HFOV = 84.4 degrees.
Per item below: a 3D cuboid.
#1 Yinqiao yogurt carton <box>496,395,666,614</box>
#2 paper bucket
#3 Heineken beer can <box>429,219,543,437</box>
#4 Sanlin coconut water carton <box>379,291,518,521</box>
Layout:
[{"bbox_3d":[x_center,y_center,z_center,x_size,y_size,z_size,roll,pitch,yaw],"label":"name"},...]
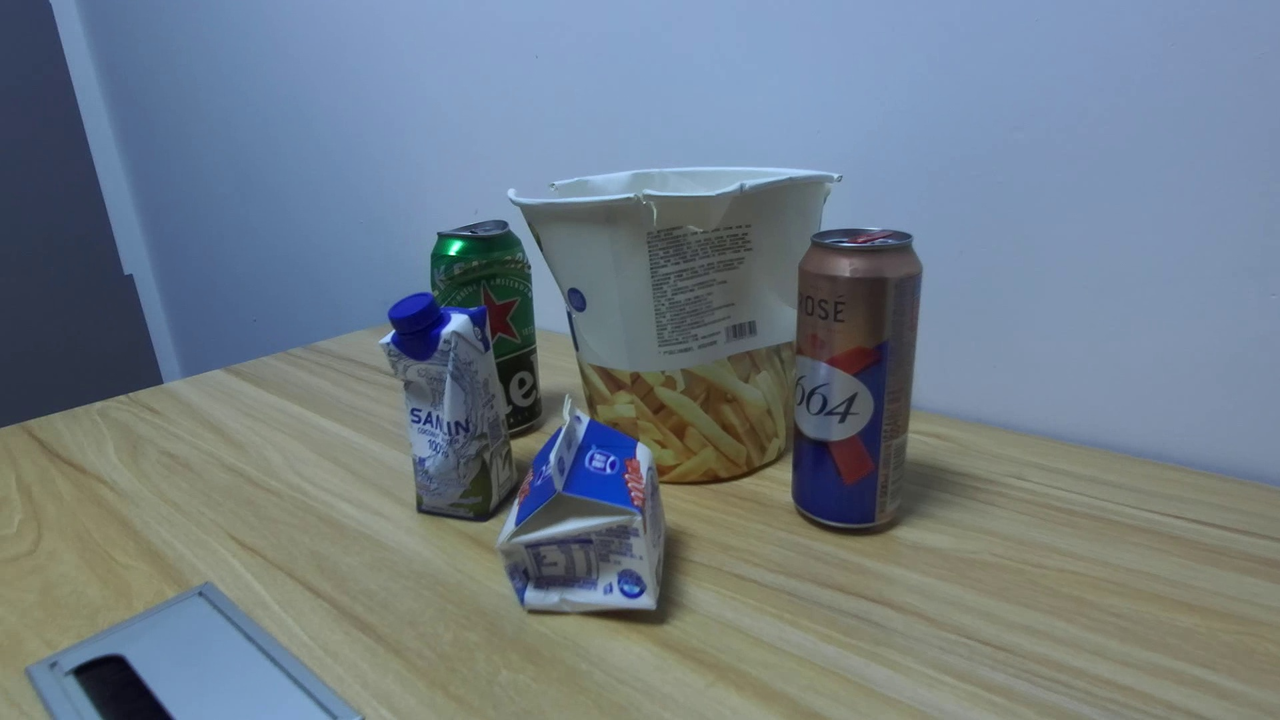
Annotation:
[{"bbox_3d":[-0.033,0.074,0.365,0.080,0.097,0.074,-9,19,8],"label":"Yinqiao yogurt carton"},{"bbox_3d":[0.030,-0.032,0.506,0.203,0.197,0.145,-18,22,-37],"label":"paper bucket"},{"bbox_3d":[-0.116,-0.023,0.558,0.078,0.164,0.066,-10,18,-14],"label":"Heineken beer can"},{"bbox_3d":[-0.120,0.025,0.448,0.060,0.144,0.070,3,21,21],"label":"Sanlin coconut water carton"}]
